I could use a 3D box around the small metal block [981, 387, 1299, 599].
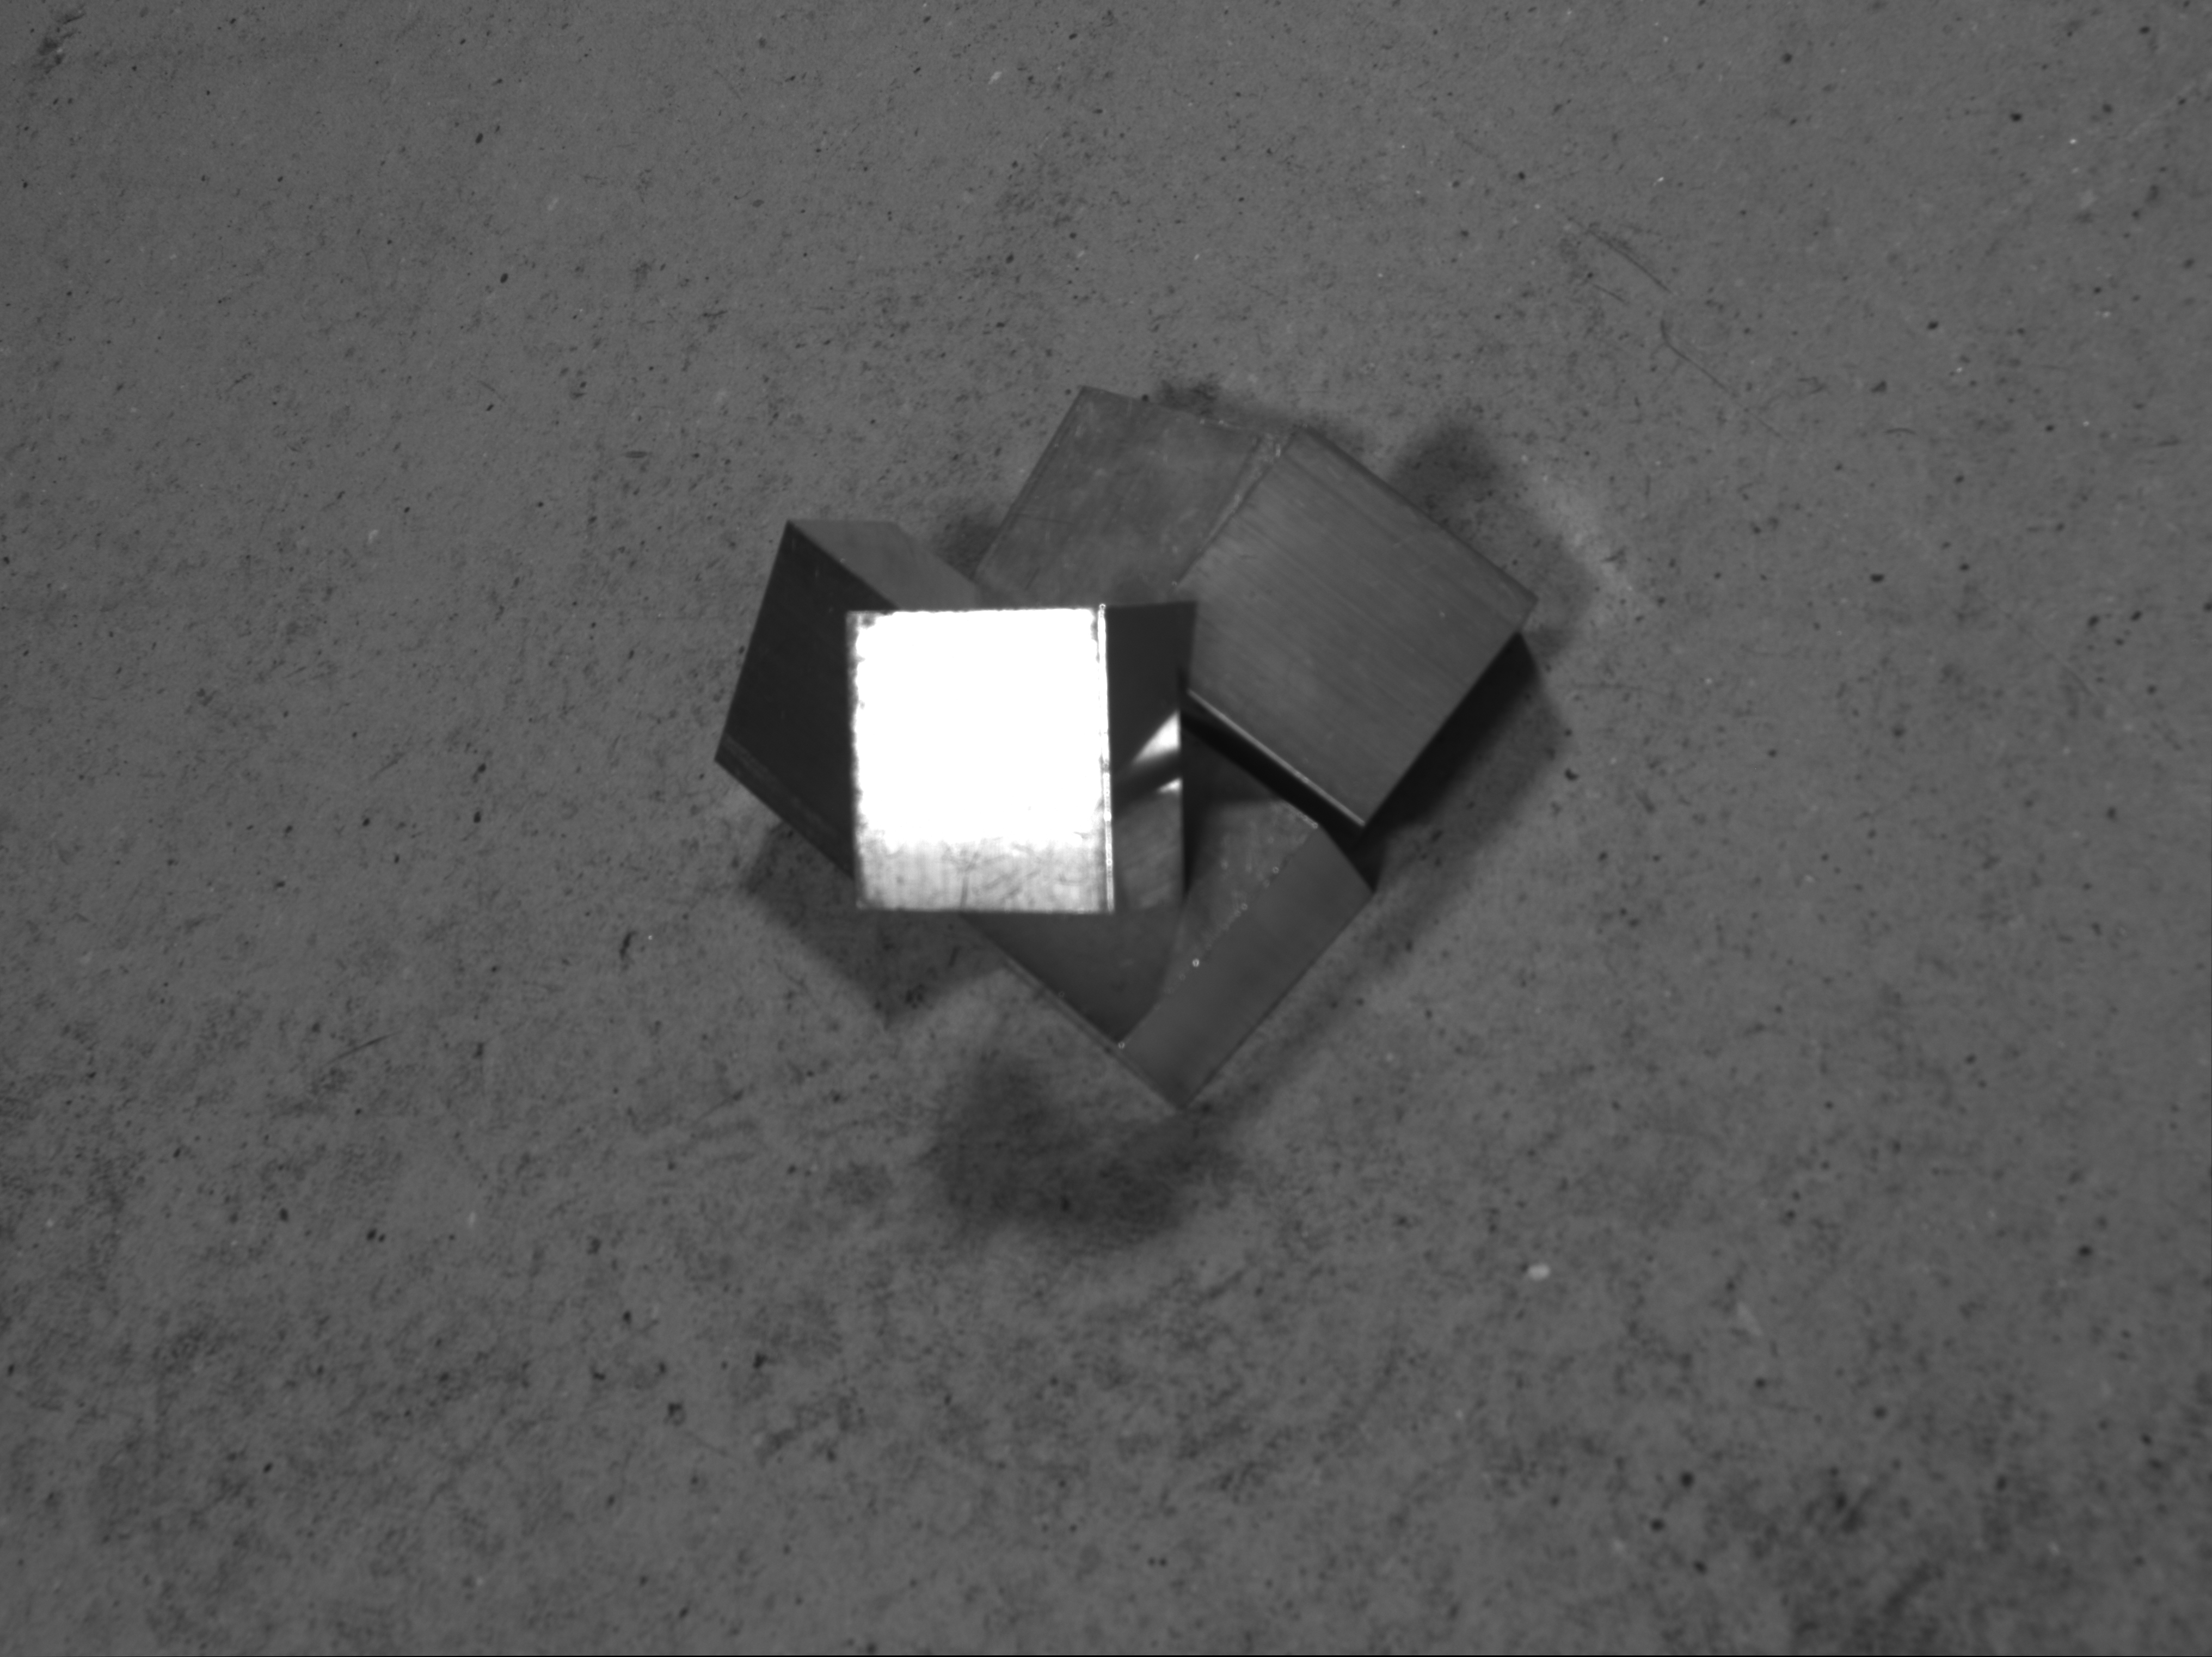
[{"bbox_3d":[0.010,-0.049,0.670,0.050,0.025,0.050,19,71,35],"label":"small metal block"}]

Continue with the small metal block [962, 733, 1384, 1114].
[{"bbox_3d":[0.010,0.012,0.632,0.050,0.025,0.050,-48,51,-6],"label":"small metal block"}]

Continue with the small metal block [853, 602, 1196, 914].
[{"bbox_3d":[-0.014,-0.012,0.612,0.050,0.025,0.050,0,94,28],"label":"small metal block"}]

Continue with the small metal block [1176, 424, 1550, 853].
[{"bbox_3d":[0.040,-0.032,0.628,0.050,0.025,0.050,37,81,5],"label":"small metal block"}]

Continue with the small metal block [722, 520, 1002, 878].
[{"bbox_3d":[-0.039,-0.022,0.665,0.050,0.025,0.050,38,119,38],"label":"small metal block"}]
